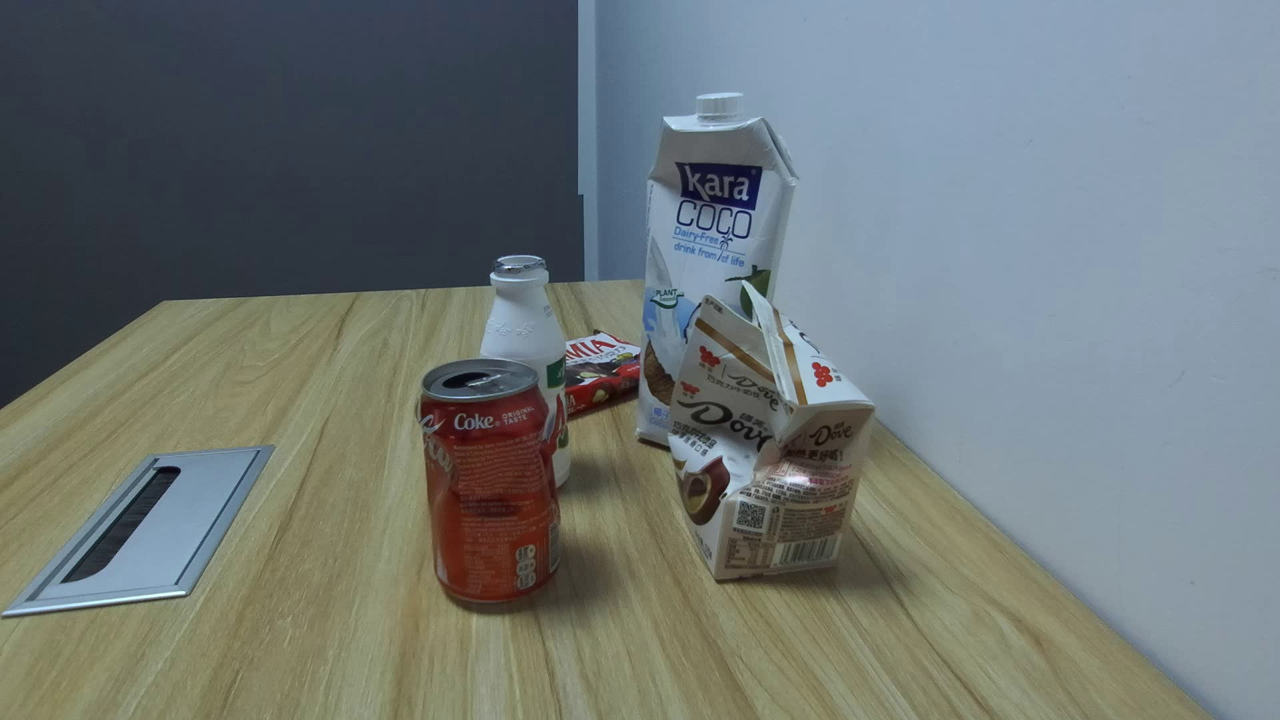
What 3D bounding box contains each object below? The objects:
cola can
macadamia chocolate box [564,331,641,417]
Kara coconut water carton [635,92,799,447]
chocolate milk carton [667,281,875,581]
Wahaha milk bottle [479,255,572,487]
[{"bbox_3d":[-0.074,0.059,0.356,0.066,0.117,0.065,-6,22,-15],"label":"cola can"},{"bbox_3d":[-0.069,0.016,0.591,0.184,0.028,0.105,-17,28,-40],"label":"macadamia chocolate box"},{"bbox_3d":[0.046,-0.053,0.473,0.114,0.238,0.069,16,24,31],"label":"Kara coconut water carton"},{"bbox_3d":[0.064,0.040,0.369,0.077,0.155,0.089,-9,38,-13],"label":"chocolate milk carton"},{"bbox_3d":[-0.072,0.009,0.443,0.056,0.148,0.056,0,24,0],"label":"Wahaha milk bottle"}]
